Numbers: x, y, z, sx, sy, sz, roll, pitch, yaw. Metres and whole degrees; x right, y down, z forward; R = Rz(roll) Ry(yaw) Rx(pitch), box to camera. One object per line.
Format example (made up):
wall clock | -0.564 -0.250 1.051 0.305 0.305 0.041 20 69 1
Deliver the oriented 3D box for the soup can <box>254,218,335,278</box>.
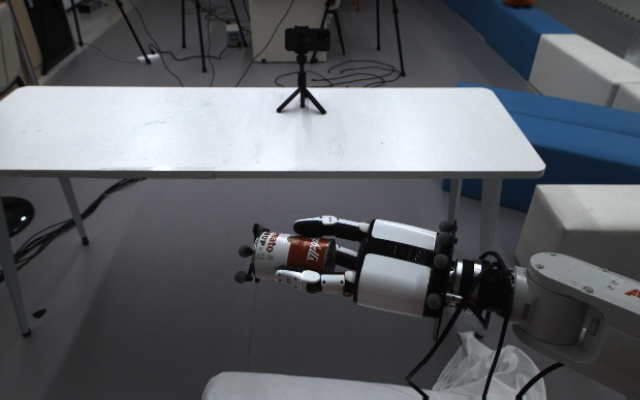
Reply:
soup can | -0.032 0.081 0.661 0.101 0.067 0.067 5 35 13
